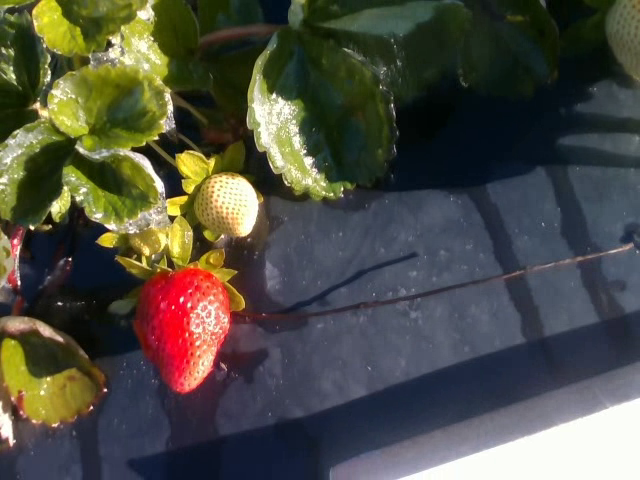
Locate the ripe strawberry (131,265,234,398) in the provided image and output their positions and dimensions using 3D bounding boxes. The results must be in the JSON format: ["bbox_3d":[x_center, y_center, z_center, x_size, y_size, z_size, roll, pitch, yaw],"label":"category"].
[{"bbox_3d":[-0.038,0.030,0.184,0.039,0.039,0.040,-26,-48,14],"label":"ripe strawberry"}]
